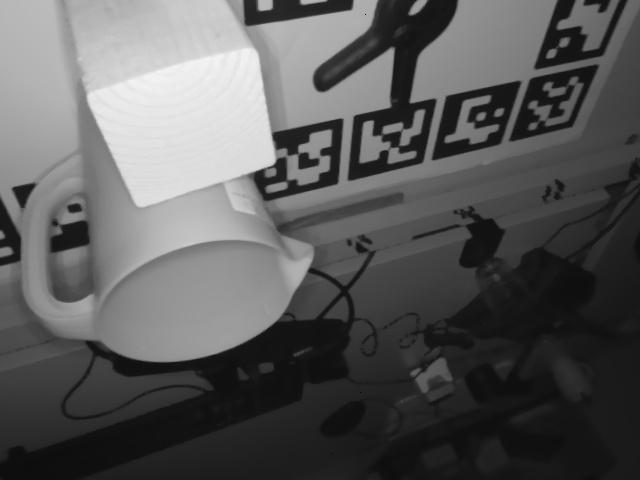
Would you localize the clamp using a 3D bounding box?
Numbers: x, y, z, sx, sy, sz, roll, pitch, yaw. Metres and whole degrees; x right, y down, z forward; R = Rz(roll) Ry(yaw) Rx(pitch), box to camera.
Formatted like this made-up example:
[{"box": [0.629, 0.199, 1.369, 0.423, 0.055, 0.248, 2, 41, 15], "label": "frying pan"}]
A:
[{"box": [0.078, -0.188, 0.653, 0.123, 0.036, 0.162, 13, 129, -32], "label": "clamp"}]

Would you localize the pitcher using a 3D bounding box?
[{"box": [-0.126, -0.034, 0.533, 0.191, 0.242, 0.132, -17, 145, -17], "label": "pitcher"}]

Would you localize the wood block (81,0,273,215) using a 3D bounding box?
[{"box": [-0.102, -0.129, 0.457, 0.090, 0.206, 0.090, -13, 143, -11], "label": "wood block"}]
